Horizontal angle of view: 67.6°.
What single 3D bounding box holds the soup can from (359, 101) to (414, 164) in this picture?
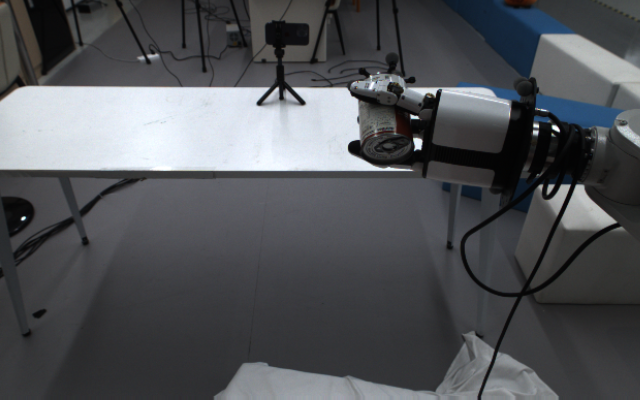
[{"bbox_3d":[0.084,-0.105,0.627,0.067,0.067,0.101,1,62,-2],"label":"soup can"}]
